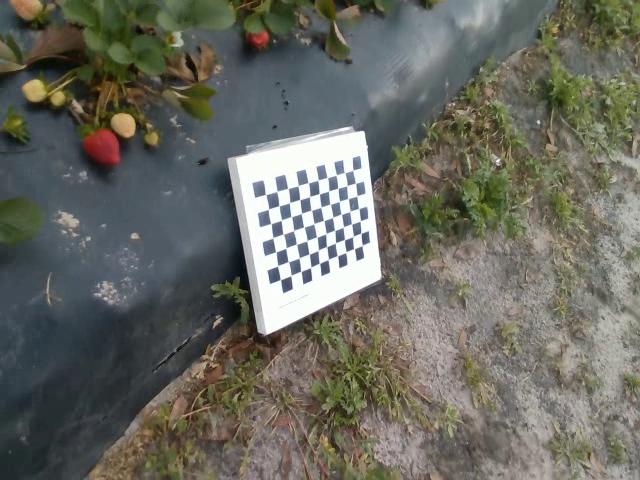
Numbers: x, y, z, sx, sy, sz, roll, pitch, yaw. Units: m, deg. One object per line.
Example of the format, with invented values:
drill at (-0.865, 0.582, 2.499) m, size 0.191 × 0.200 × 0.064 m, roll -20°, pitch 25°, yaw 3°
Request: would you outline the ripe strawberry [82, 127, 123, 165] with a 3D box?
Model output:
ripe strawberry at (-0.268, -0.117, 0.760) m, size 0.050 × 0.059 × 0.034 m, roll -34°, pitch -22°, yaw -37°
